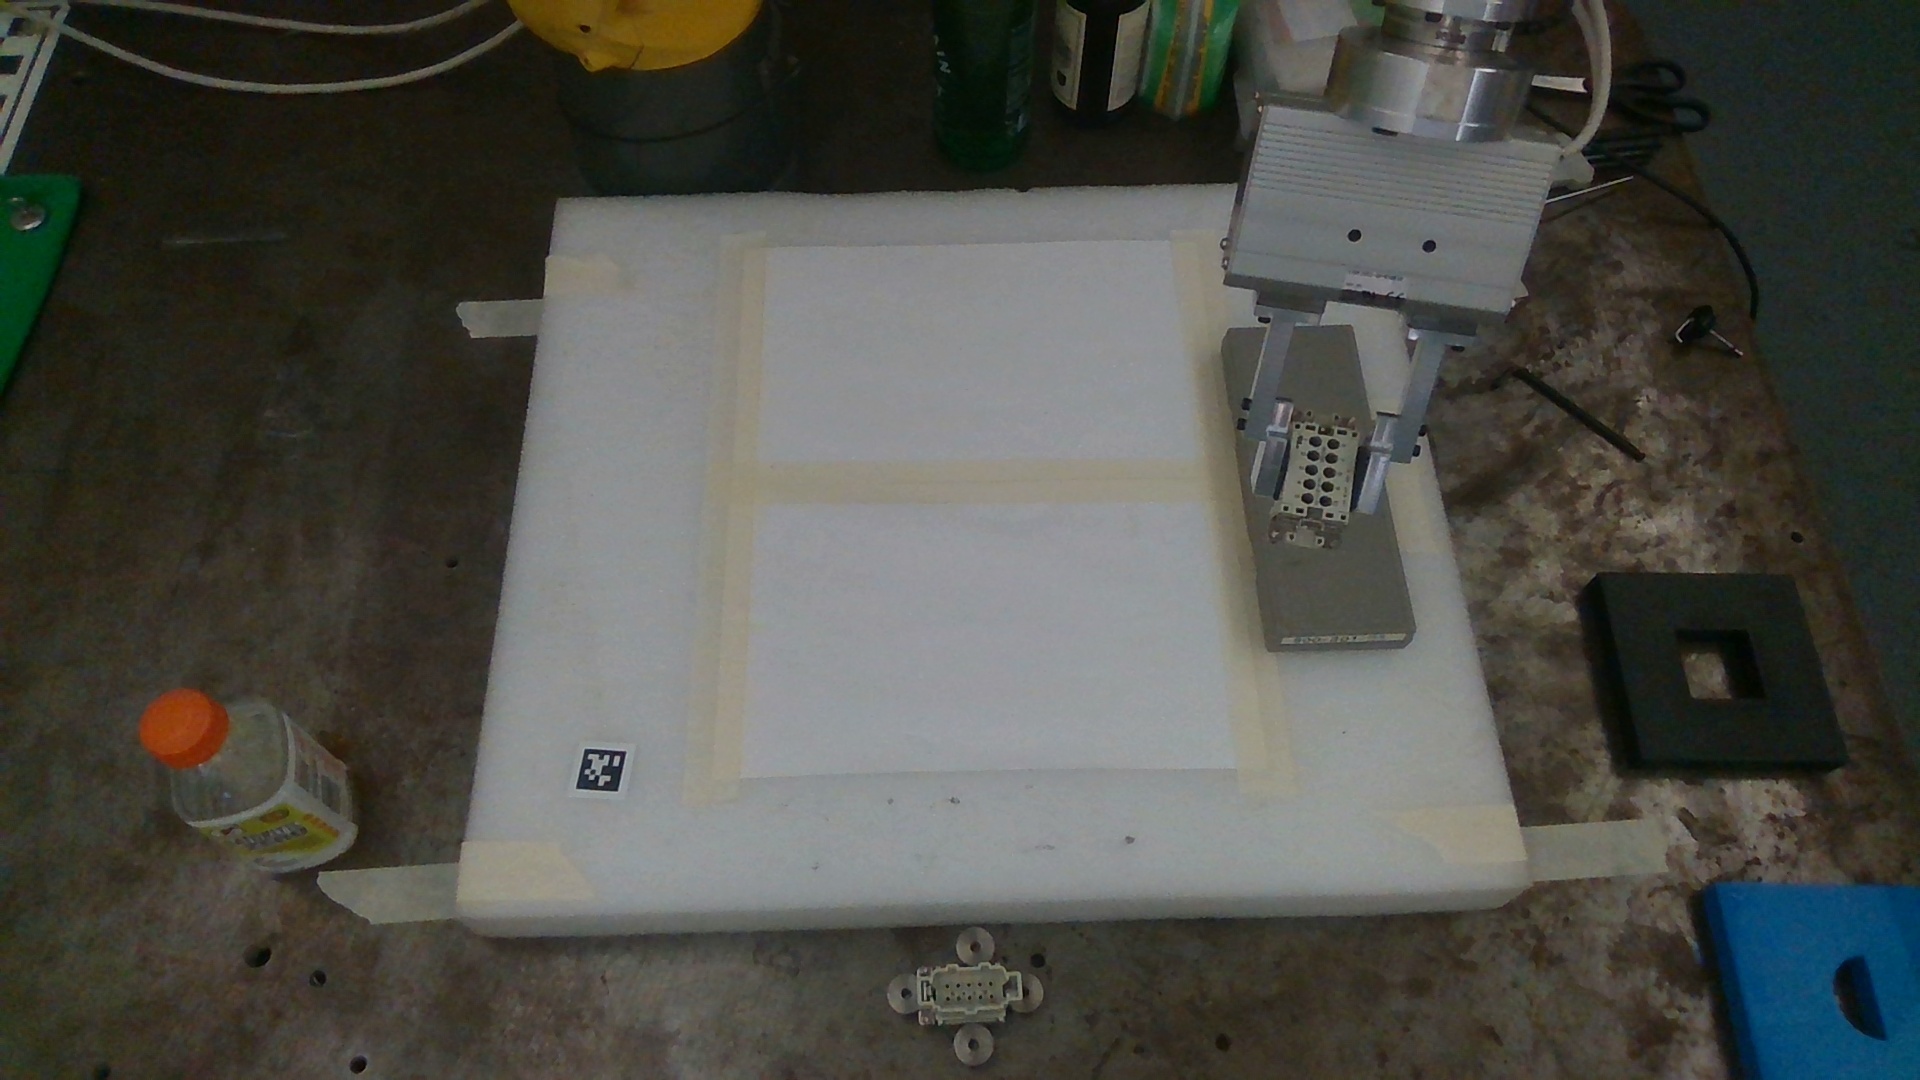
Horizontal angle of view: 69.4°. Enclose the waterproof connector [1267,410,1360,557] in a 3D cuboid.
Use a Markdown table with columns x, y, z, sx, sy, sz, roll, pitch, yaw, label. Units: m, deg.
| x | y | z | sx | sy | sz | roll | pitch | yaw | label |
| --- | --- | --- | --- | --- | --- | --- | --- | --- | --- |
| 0.168 | -0.027 | 0.661 | 0.037 | 0.038 | 0.069 | 7 | 84 | 10 | waterproof connector |
